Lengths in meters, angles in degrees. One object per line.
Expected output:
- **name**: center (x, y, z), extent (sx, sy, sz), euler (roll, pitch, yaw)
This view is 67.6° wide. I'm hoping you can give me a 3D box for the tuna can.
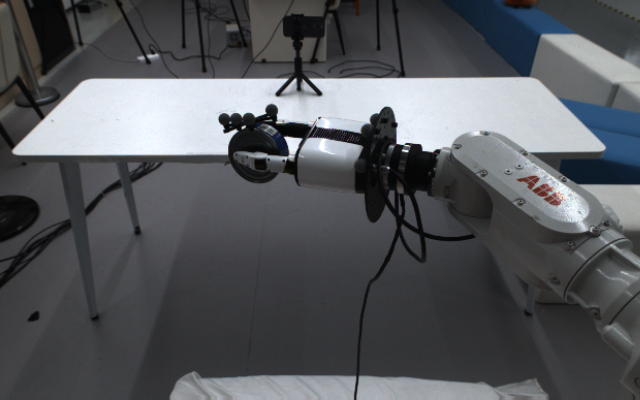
- **tuna can**: center (-0.086, -0.069, 0.717), extent (0.085, 0.085, 0.034), euler (13, 29, 15)
